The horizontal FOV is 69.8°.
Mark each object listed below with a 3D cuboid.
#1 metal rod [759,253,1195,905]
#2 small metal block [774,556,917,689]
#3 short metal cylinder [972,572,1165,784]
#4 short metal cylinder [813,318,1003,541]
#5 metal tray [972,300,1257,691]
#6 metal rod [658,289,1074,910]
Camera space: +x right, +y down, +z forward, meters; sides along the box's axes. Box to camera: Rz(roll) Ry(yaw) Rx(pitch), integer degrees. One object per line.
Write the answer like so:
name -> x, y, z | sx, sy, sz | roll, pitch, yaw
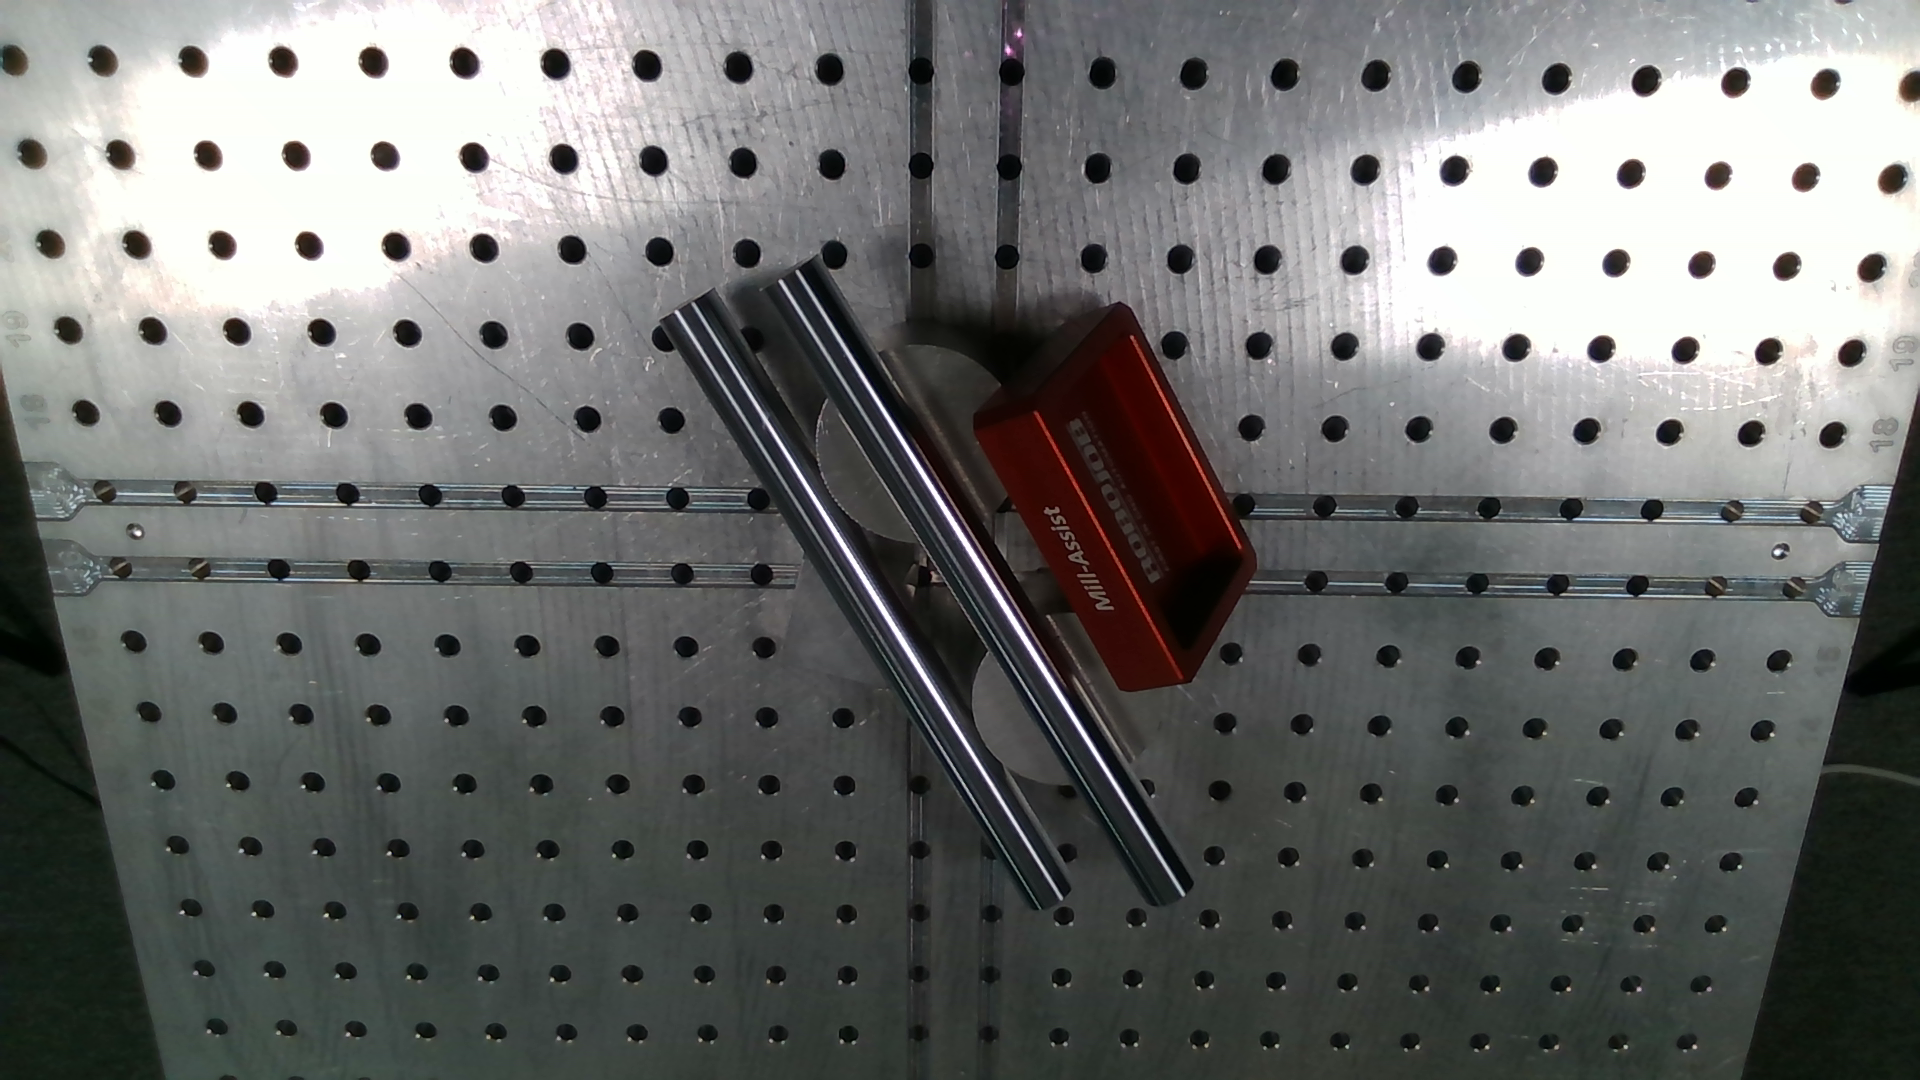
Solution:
metal rod -> 0.014, 0.025, 0.542 | 0.025, 0.025, 0.301 | -29, 108, 10
small metal block -> -0.049, 0.032, 0.598 | 0.050, 0.025, 0.050 | 14, 110, -5
short metal cylinder -> 0.045, 0.058, 0.596 | 0.080, 0.050, 0.080 | 0, 110, 0
short metal cylinder -> -0.017, -0.046, 0.557 | 0.080, 0.050, 0.080 | 0, 110, 0
metal tray -> 0.065, -0.017, 0.545 | 0.030, 0.090, 0.130 | -15, 113, 40
metal rod -> -0.032, 0.034, 0.572 | 0.025, 0.025, 0.301 | -27, 108, 10
